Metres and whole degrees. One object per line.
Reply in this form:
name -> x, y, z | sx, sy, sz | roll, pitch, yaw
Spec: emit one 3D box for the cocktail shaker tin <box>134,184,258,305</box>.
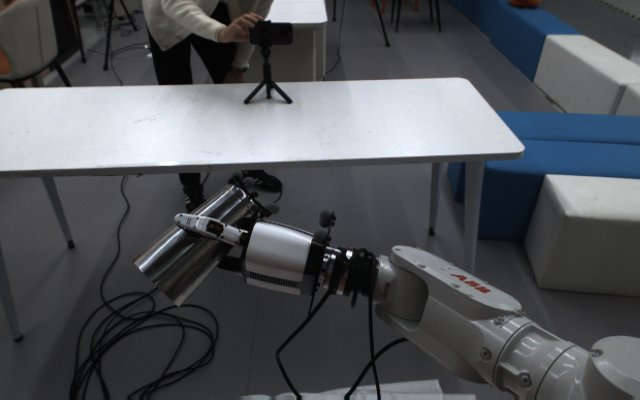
cocktail shaker tin -> -0.168, 0.055, 0.682 | 0.170, 0.093, 0.093 | -43, 52, -19
